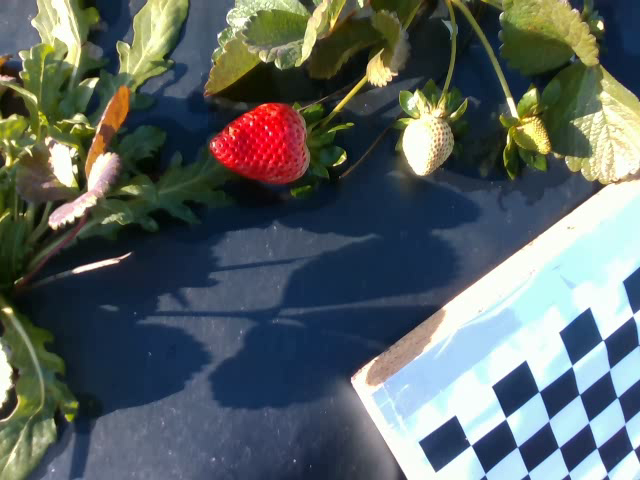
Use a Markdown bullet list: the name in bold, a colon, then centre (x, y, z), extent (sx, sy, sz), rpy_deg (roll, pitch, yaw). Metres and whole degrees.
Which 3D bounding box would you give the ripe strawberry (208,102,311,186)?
- **ripe strawberry**: centre (-0.026, -0.042, 0.245), extent (0.053, 0.044, 0.036), rpy_deg (-11, 20, -28)
